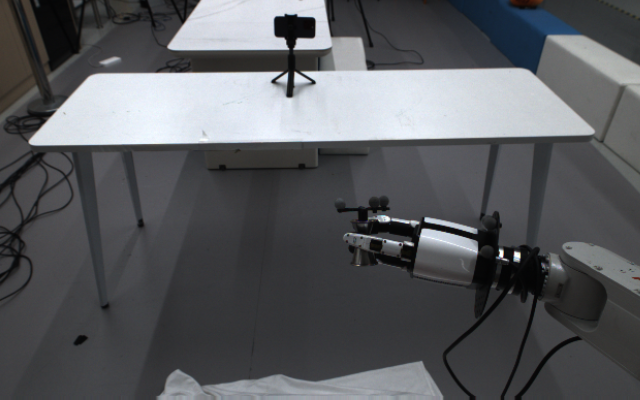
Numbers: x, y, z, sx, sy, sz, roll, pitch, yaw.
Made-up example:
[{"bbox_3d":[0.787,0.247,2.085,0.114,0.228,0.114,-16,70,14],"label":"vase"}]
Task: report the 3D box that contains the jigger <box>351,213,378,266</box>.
[{"bbox_3d":[0.066,0.064,0.746,0.043,0.071,0.043,-2,3,0],"label":"jigger"}]
